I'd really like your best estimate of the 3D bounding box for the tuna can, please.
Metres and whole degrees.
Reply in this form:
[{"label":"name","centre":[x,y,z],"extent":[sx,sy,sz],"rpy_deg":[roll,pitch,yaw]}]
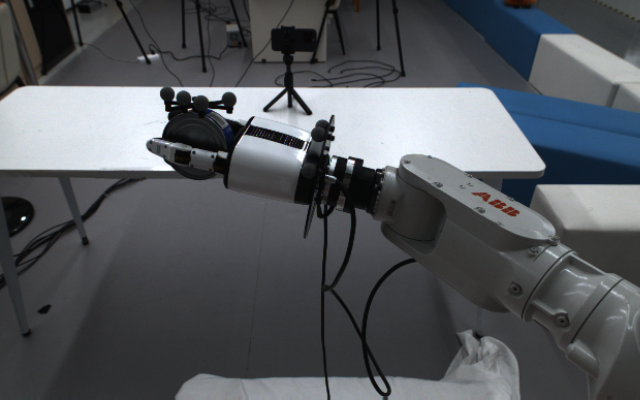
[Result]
[{"label":"tuna can","centre":[-0.150,-0.069,0.606],"extent":[0.085,0.085,0.034],"rpy_deg":[9,22,9]}]
